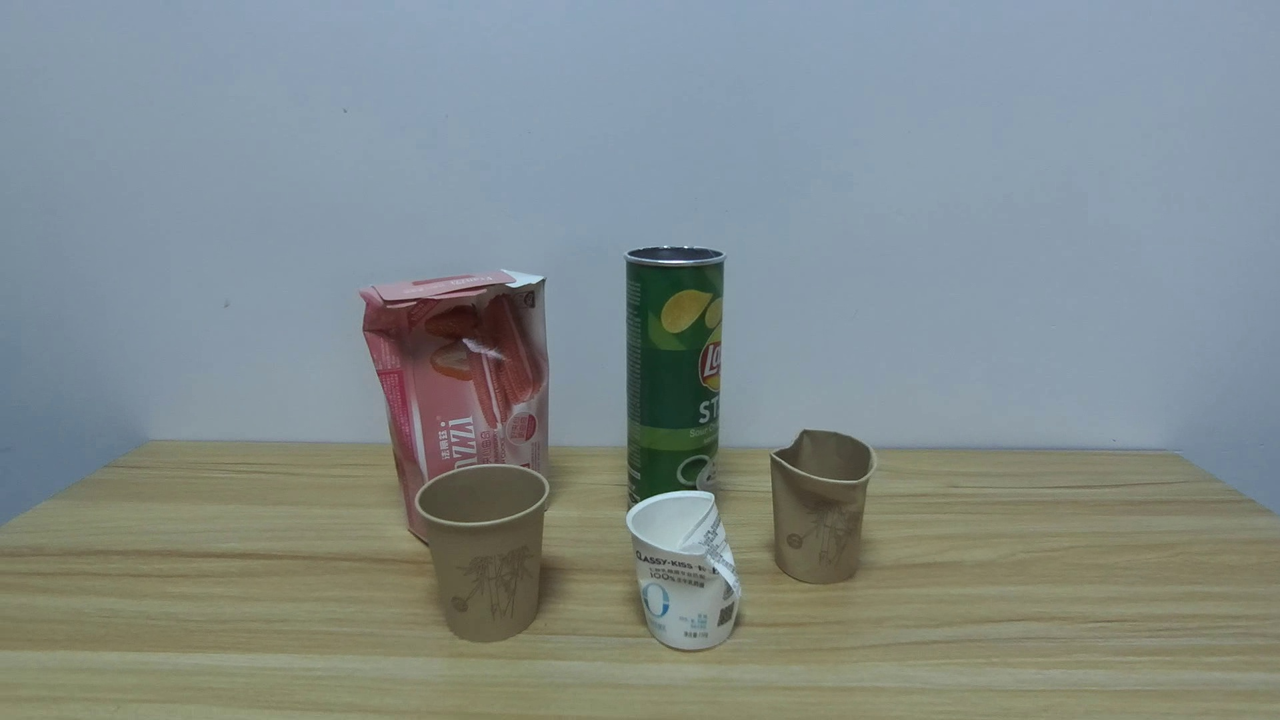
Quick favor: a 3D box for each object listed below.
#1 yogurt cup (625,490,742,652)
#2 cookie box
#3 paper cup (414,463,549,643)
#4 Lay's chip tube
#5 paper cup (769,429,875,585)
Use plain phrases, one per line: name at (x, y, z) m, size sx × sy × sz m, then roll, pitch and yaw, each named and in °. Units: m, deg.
yogurt cup at (0.026, 0.123, 0.410) m, size 0.067 × 0.070 × 0.067 m, roll -1°, pitch 20°, yaw 1°
cookie box at (-0.124, 0.035, 0.504) m, size 0.119 × 0.184 × 0.055 m, roll -13°, pitch 22°, yaw -31°
paper cup at (-0.089, 0.114, 0.415) m, size 0.075 × 0.082 × 0.075 m, roll 1°, pitch 18°, yaw 0°
Lay's chip tube at (0.024, 0.022, 0.507) m, size 0.071 × 0.202 × 0.071 m, roll 0°, pitch 17°, yaw 0°
paper cup at (0.122, 0.097, 0.466) m, size 0.066 × 0.084 × 0.072 m, roll 10°, pitch 20°, yaw 34°
